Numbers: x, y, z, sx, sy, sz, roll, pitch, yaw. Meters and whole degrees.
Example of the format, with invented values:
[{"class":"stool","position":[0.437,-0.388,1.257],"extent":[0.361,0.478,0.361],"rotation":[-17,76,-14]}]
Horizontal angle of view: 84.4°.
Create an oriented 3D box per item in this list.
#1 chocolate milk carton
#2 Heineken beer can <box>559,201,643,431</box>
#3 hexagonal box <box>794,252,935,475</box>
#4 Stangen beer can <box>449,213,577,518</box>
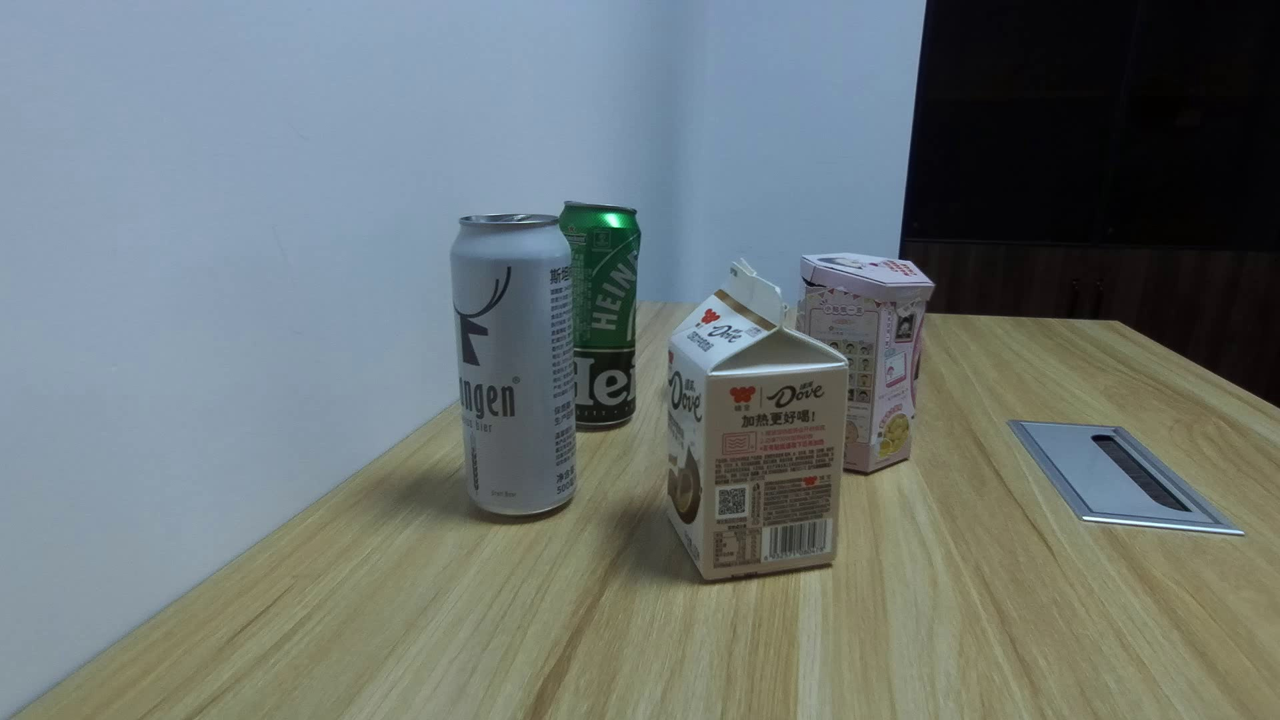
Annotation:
[{"class":"chocolate milk carton","position":[0.058,0.026,0.364],"extent":[0.074,0.148,0.075],"rotation":[-4,16,-12]},{"class":"Heineken beer can","position":[-0.032,-0.033,0.543],"extent":[0.069,0.168,0.068],"rotation":[6,12,11]},{"class":"hexagonal box","position":[0.145,-0.001,0.485],"extent":[0.085,0.135,0.092],"rotation":[0,16,-2]},{"class":"Stangen beer can","position":[-0.071,0.004,0.411],"extent":[0.067,0.171,0.067],"rotation":[0,15,0]}]
